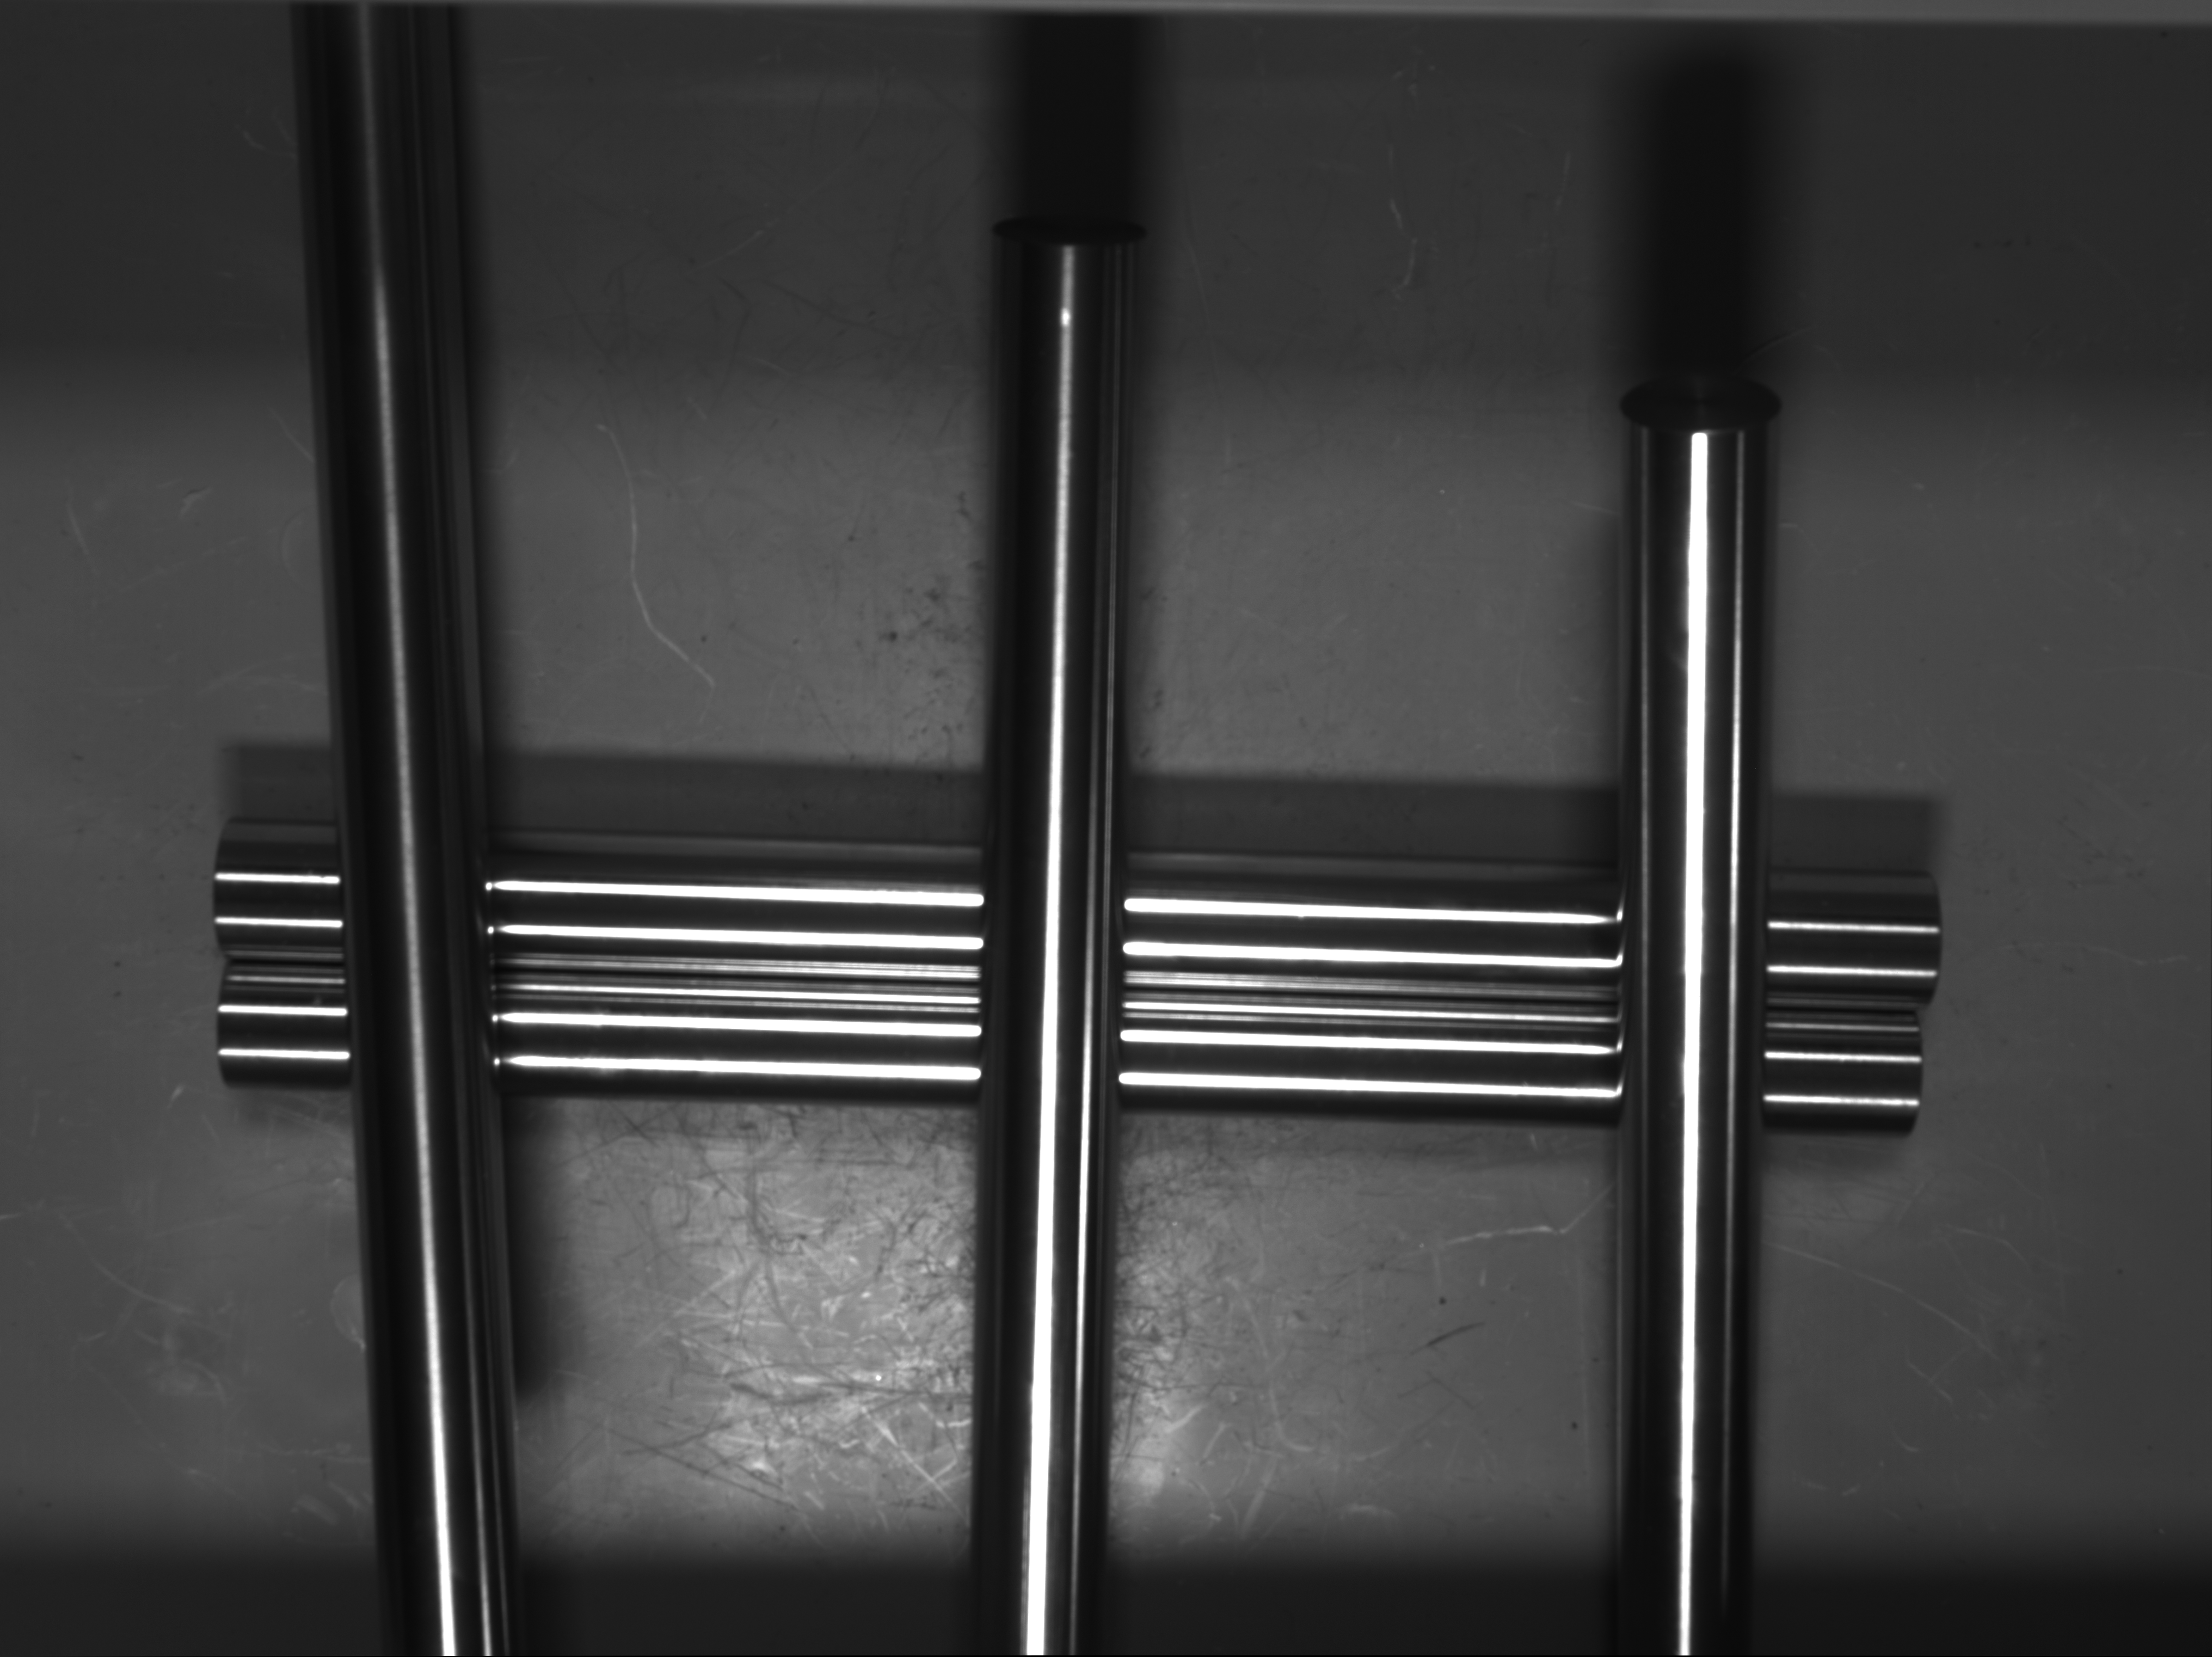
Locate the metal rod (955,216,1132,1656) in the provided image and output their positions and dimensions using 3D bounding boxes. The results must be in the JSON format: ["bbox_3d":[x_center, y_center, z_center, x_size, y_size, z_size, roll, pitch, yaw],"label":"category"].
[{"bbox_3d":[-0.012,0.046,0.632,0.025,0.025,0.300,1,110,-1],"label":"metal rod"}]

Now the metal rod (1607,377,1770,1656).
[{"bbox_3d":[0.101,0.066,0.643,0.025,0.025,0.300,-4,118,1],"label":"metal rod"}]

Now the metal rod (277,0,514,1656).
[{"bbox_3d":[-0.119,0.004,0.617,0.025,0.025,0.300,-1,102,0],"label":"metal rod"}]

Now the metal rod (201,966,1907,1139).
[{"bbox_3d":[-0.009,0.039,0.656,0.300,0.025,0.025,2,110,-1],"label":"metal rod"}]

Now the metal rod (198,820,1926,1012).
[{"bbox_3d":[-0.007,0.016,0.648,0.300,0.025,0.025,2,110,-1],"label":"metal rod"}]
